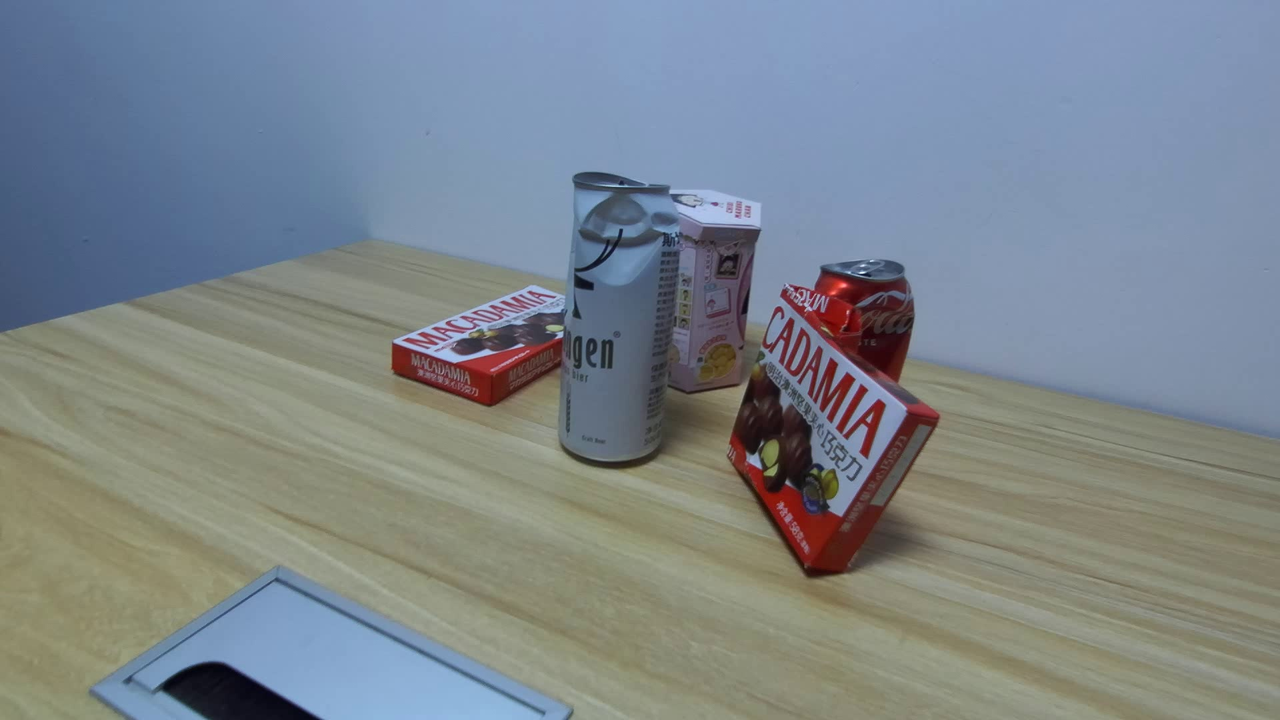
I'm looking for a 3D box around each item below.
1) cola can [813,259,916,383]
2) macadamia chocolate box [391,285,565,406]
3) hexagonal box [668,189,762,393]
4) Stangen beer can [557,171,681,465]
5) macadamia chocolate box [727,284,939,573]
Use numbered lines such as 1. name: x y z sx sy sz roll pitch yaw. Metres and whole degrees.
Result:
1. cola can: 0.147 -0.012 0.483 0.069 0.112 0.065 5 24 4
2. macadamia chocolate box: -0.096 -0.020 0.573 0.102 0.027 0.187 17 28 23
3. hexagonal box: 0.042 -0.053 0.530 0.085 0.135 0.092 6 24 5
4. Stangen beer can: -0.013 -0.021 0.419 0.066 0.166 0.066 3 22 -4
5. macadamia chocolate box: 0.096 0.032 0.378 0.056 0.112 0.126 0 24 -12
